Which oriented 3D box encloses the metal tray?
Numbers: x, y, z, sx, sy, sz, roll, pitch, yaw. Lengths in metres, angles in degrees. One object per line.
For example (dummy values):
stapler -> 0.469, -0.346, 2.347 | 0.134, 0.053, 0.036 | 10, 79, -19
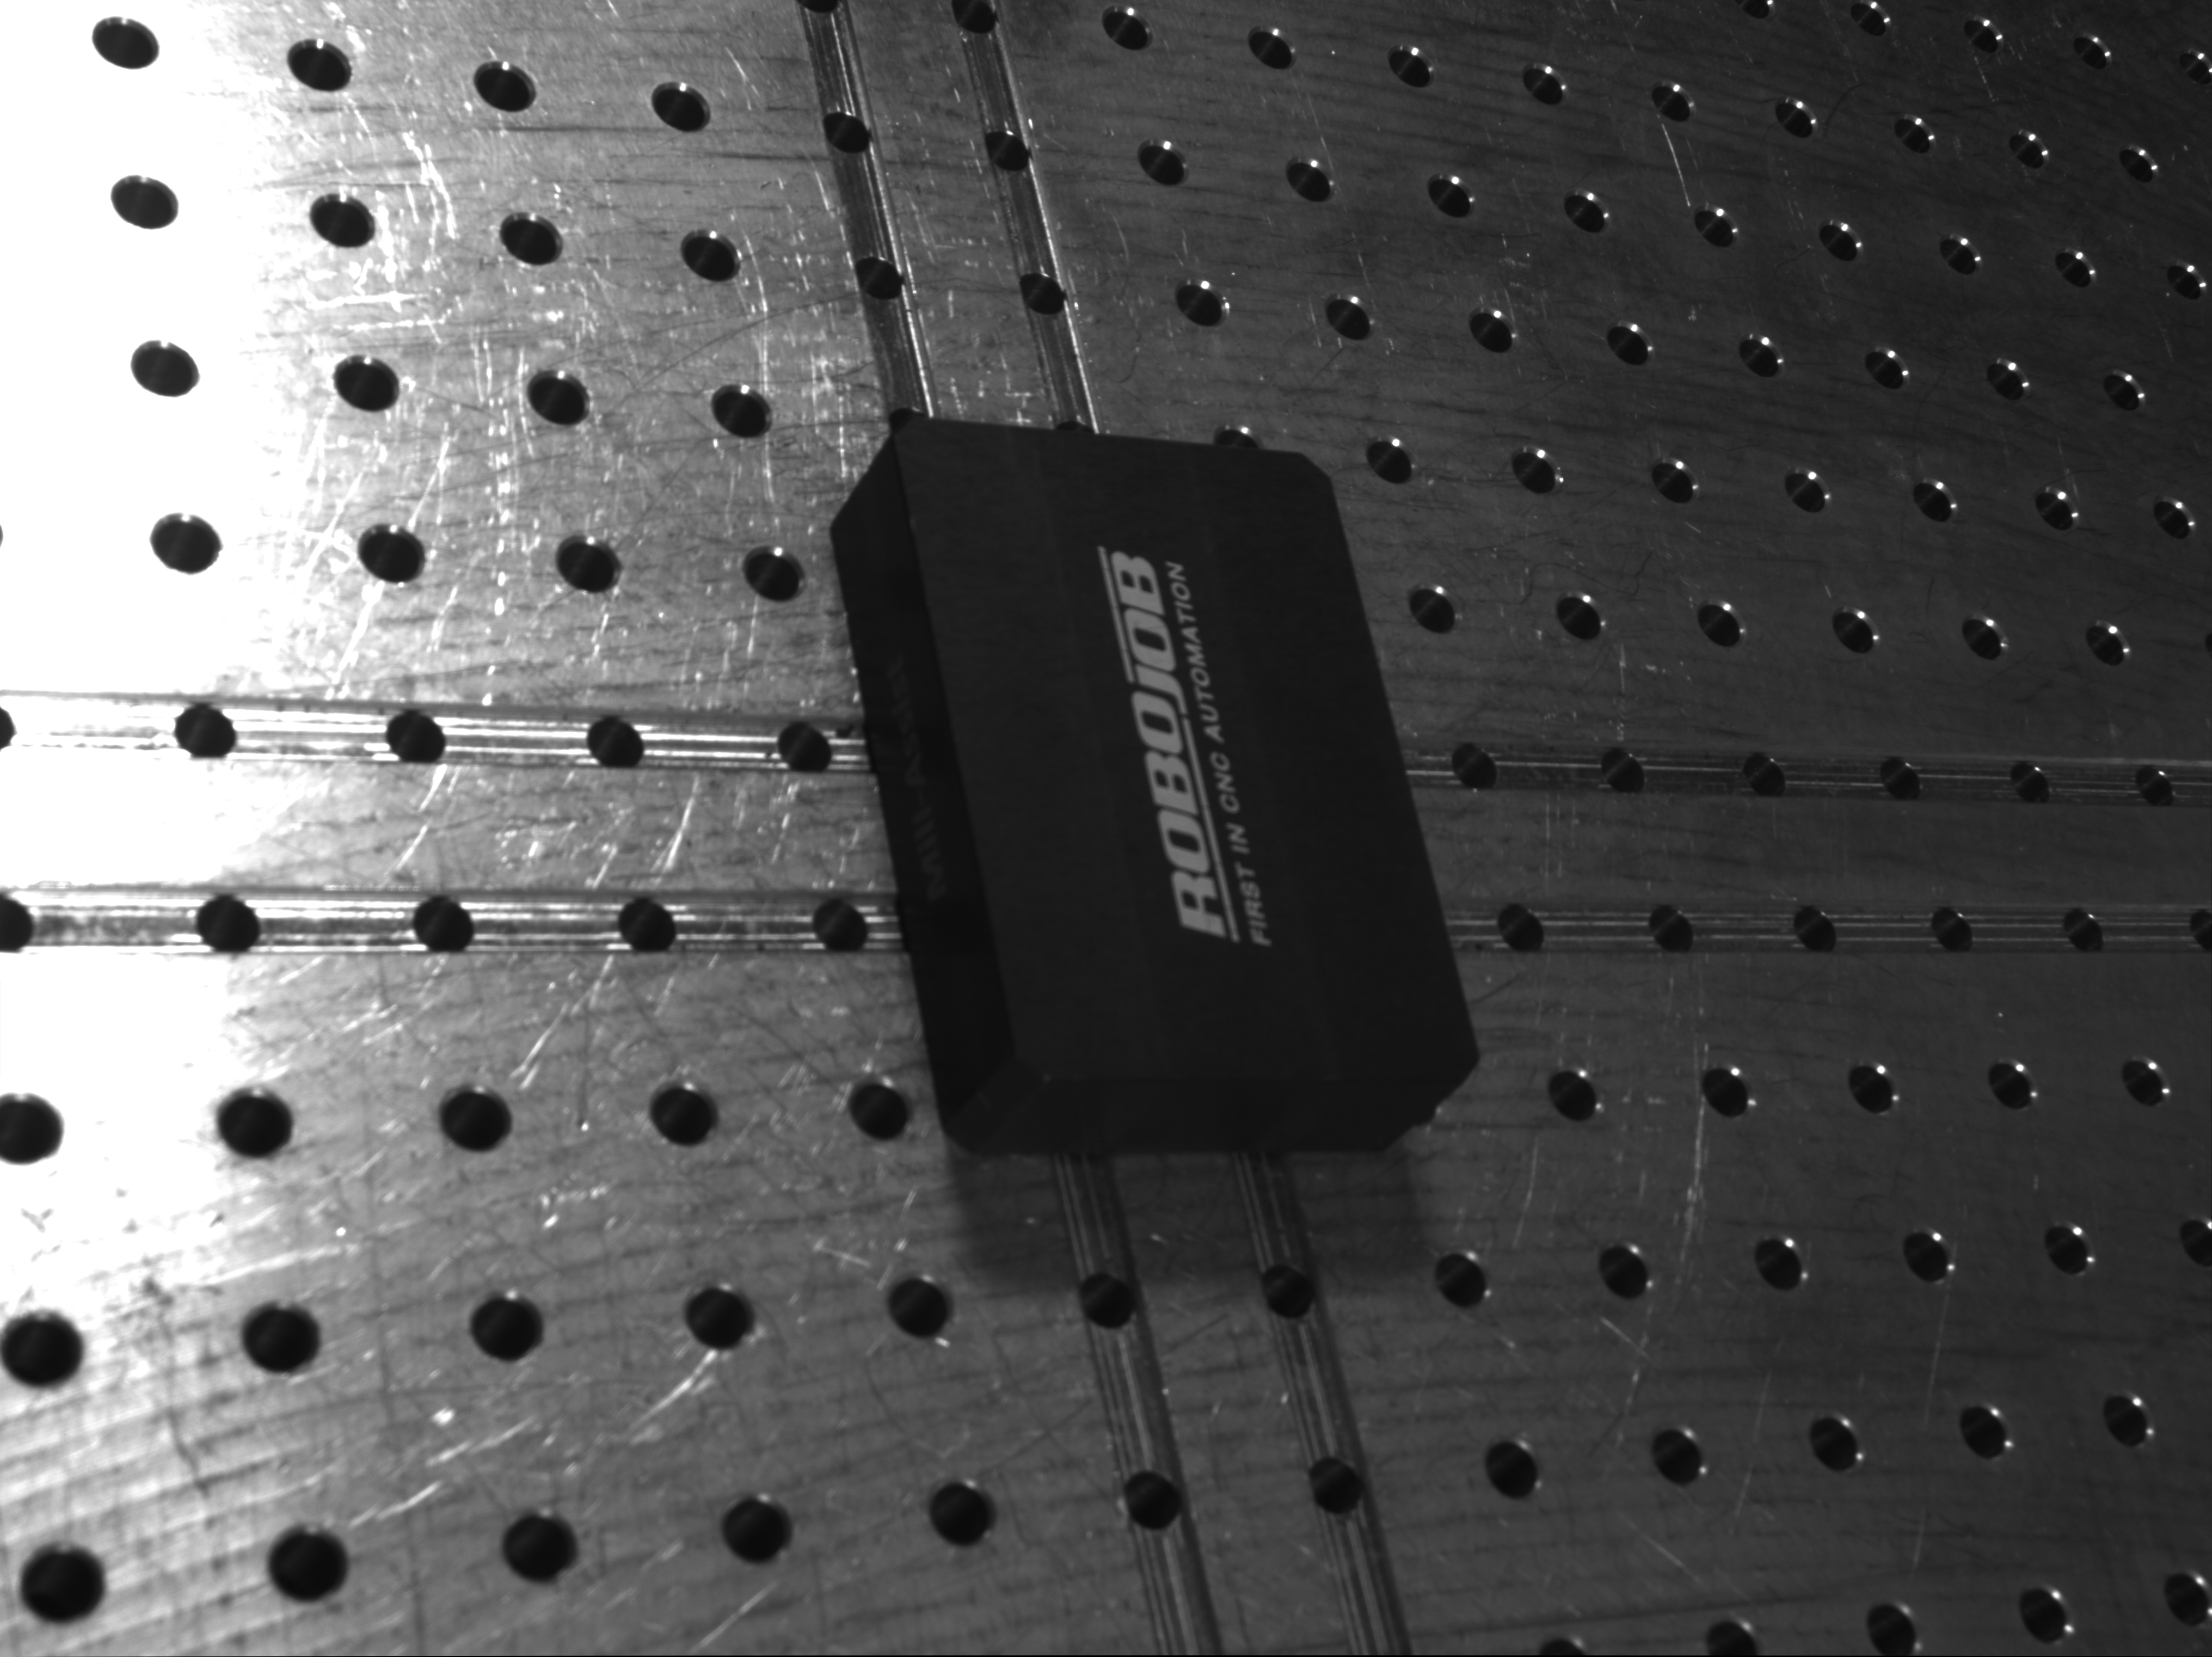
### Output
metal tray -> 0.009, -0.008, 0.649 | 0.090, 0.030, 0.130 | 2, 61, -27
